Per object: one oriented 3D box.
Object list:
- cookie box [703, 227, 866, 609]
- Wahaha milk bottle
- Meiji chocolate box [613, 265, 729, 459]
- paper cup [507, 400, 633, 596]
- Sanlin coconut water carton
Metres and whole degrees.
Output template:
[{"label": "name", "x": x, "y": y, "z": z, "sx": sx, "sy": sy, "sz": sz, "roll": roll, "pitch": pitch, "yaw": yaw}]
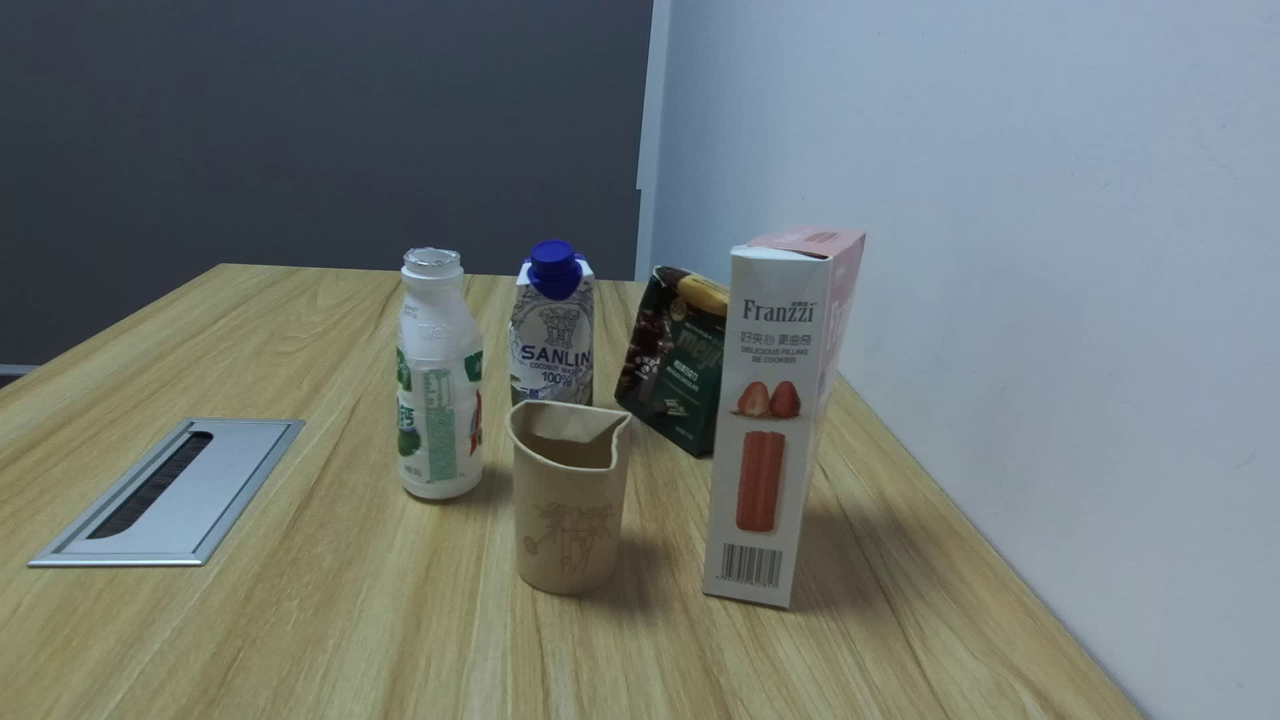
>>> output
[{"label": "cookie box", "x": 0.073, "y": 0.025, "z": 0.377, "sx": 0.055, "sy": 0.184, "sz": 0.119, "roll": 11, "pitch": 22, "yaw": 17}, {"label": "Wahaha milk bottle", "x": -0.120, "y": 0.010, "z": 0.425, "sx": 0.055, "sy": 0.149, "sz": 0.055, "roll": 5, "pitch": 22, "yaw": -2}, {"label": "Meiji chocolate box", "x": 0.041, "y": 0.001, "z": 0.508, "sx": 0.058, "sy": 0.110, "sz": 0.112, "roll": 3, "pitch": 17, "yaw": -41}, {"label": "paper cup", "x": -0.041, "y": 0.073, "z": 0.371, "sx": 0.066, "sy": 0.084, "sz": 0.071, "roll": 8, "pitch": 22, "yaw": 7}, {"label": "Sanlin coconut water carton", "x": -0.063, "y": -0.016, "z": 0.503, "sx": 0.061, "sy": 0.143, "sz": 0.069, "roll": 1, "pitch": 22, "yaw": -6}]
